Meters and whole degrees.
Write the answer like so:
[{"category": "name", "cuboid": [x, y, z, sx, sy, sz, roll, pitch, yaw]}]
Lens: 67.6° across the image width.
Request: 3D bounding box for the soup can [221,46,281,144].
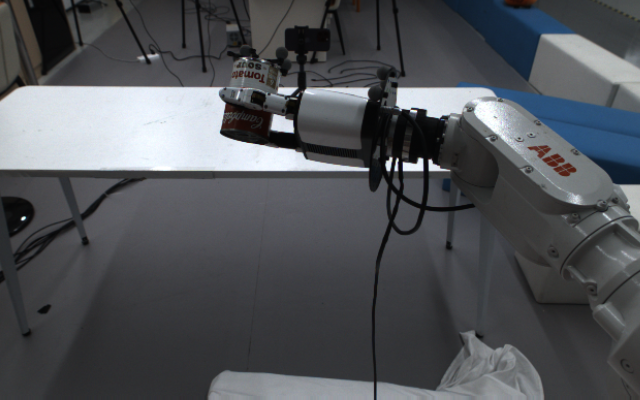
[{"category": "soup can", "cuboid": [-0.095, -0.134, 0.664, 0.067, 0.101, 0.067, 9, -5, 1]}]
